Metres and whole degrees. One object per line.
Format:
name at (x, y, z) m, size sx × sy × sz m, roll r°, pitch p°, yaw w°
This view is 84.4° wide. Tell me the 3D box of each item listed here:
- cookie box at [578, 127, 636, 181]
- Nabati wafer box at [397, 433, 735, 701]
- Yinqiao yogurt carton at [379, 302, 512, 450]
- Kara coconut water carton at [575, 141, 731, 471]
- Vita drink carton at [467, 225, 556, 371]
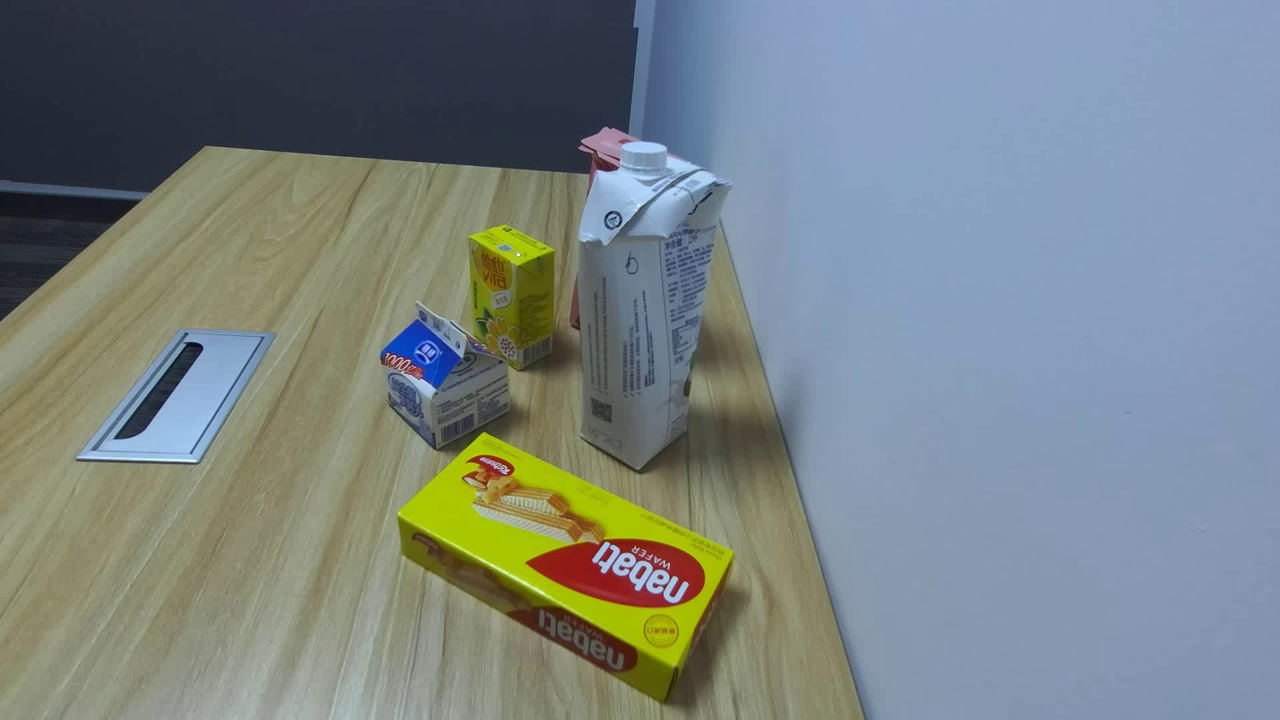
cookie box at (-0.012, -0.098, 0.621) m, size 0.056 × 0.184 × 0.118 m, roll -26°, pitch 42°, yaw -36°
Nabati wafer box at (-0.049, 0.125, 0.459) m, size 0.202 × 0.042 × 0.093 m, roll 22°, pitch 40°, yaw 19°
Yinqiao yogurt carton at (-0.154, 0.004, 0.558) m, size 0.075 × 0.092 × 0.074 m, roll 33°, pitch 45°, yaw 32°
Kara coconut water carton at (0.005, -0.035, 0.509) m, size 0.069 × 0.238 × 0.115 m, roll 29°, pitch 42°, yaw 28°
Vita drink carton at (-0.116, -0.057, 0.625) m, size 0.076 × 0.109 × 0.043 m, roll 32°, pitch 44°, yaw 30°
